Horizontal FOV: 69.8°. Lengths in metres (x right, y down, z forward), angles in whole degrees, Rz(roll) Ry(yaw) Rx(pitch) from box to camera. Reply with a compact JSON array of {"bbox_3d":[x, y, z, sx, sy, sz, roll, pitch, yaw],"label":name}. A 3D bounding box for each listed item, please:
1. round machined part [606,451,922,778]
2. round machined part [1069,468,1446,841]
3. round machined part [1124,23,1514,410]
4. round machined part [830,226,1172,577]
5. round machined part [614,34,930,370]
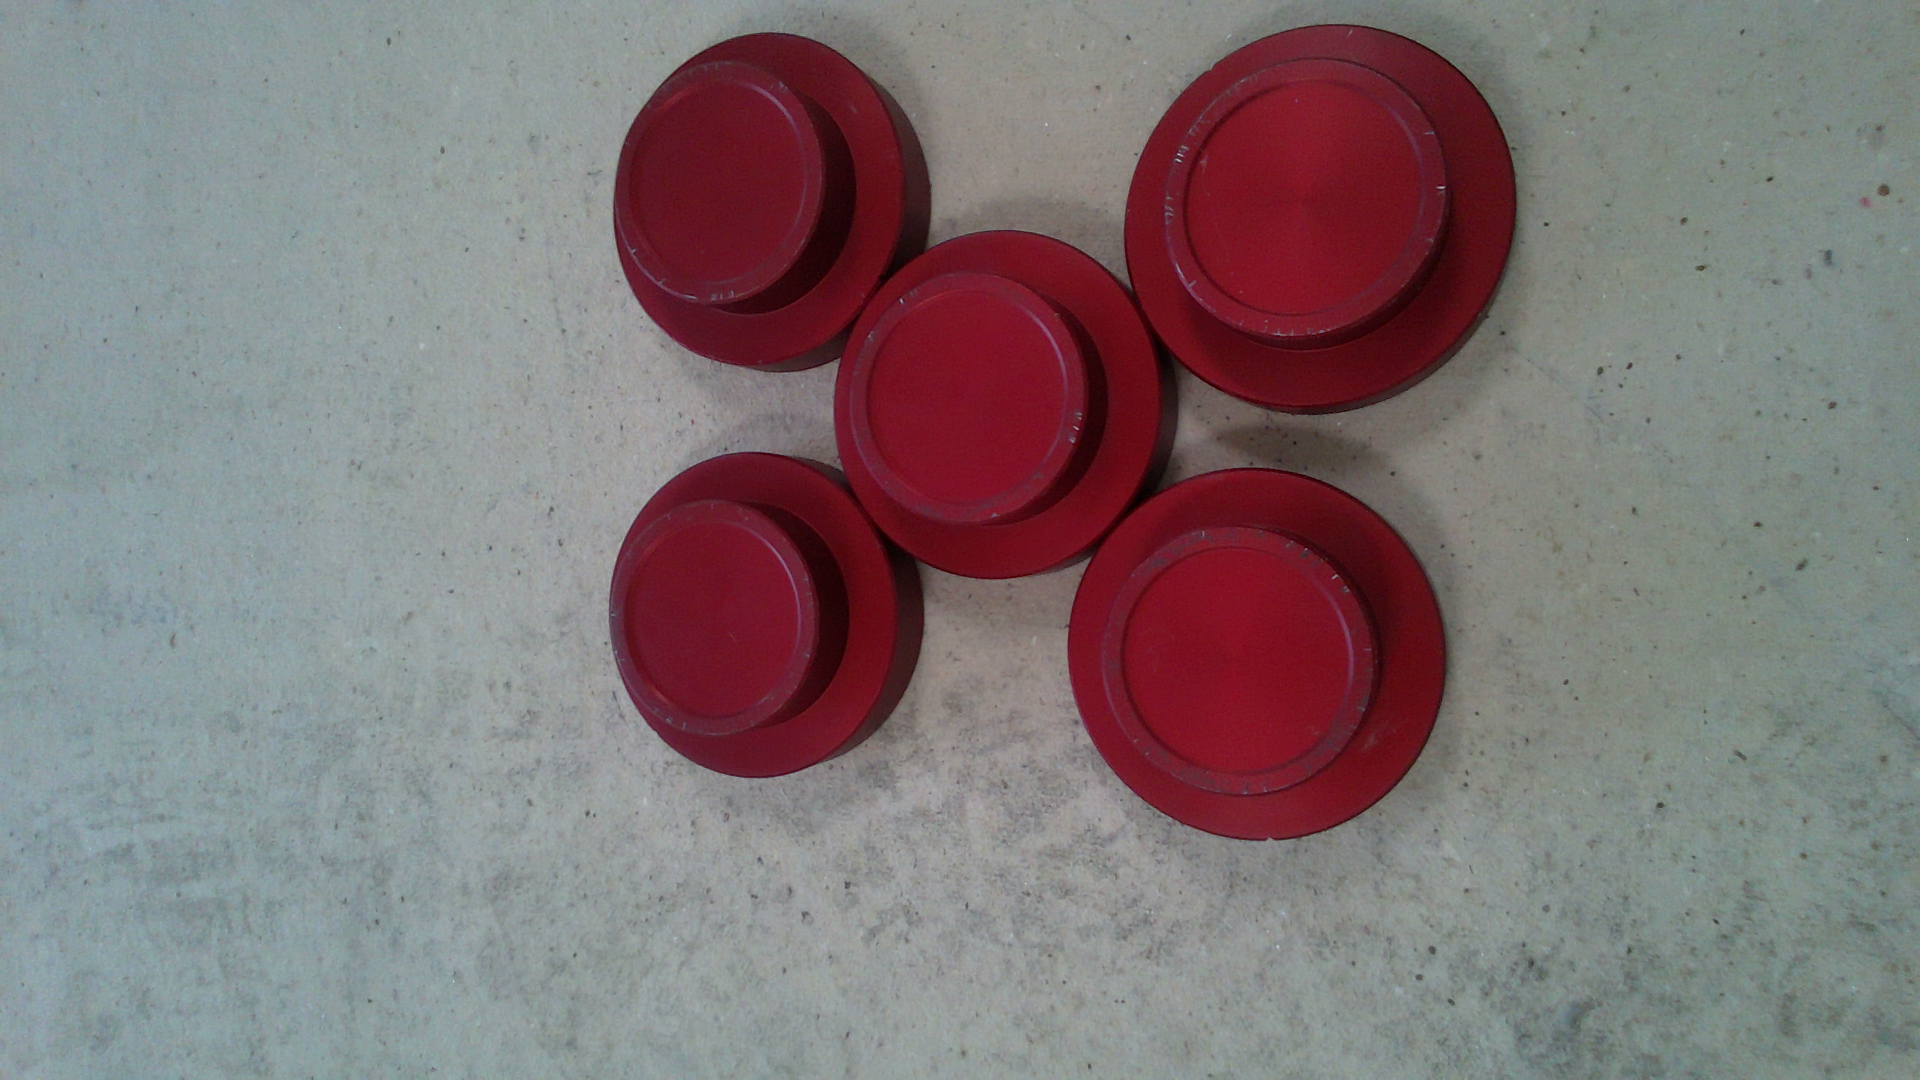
[{"bbox_3d":[-0.064,0.022,0.410,0.098,0.042,0.098,0,91,20],"label":"round machined part"},{"bbox_3d":[0.075,0.030,0.360,0.098,0.042,0.098,1,92,21],"label":"round machined part"},{"bbox_3d":[0.090,-0.083,0.354,0.098,0.042,0.098,1,92,21],"label":"round machined part"},{"bbox_3d":[0.007,-0.038,0.384,0.098,0.042,0.098,1,92,21],"label":"round machined part"},{"bbox_3d":[-0.062,-0.101,0.409,0.098,0.042,0.098,0,90,20],"label":"round machined part"}]
